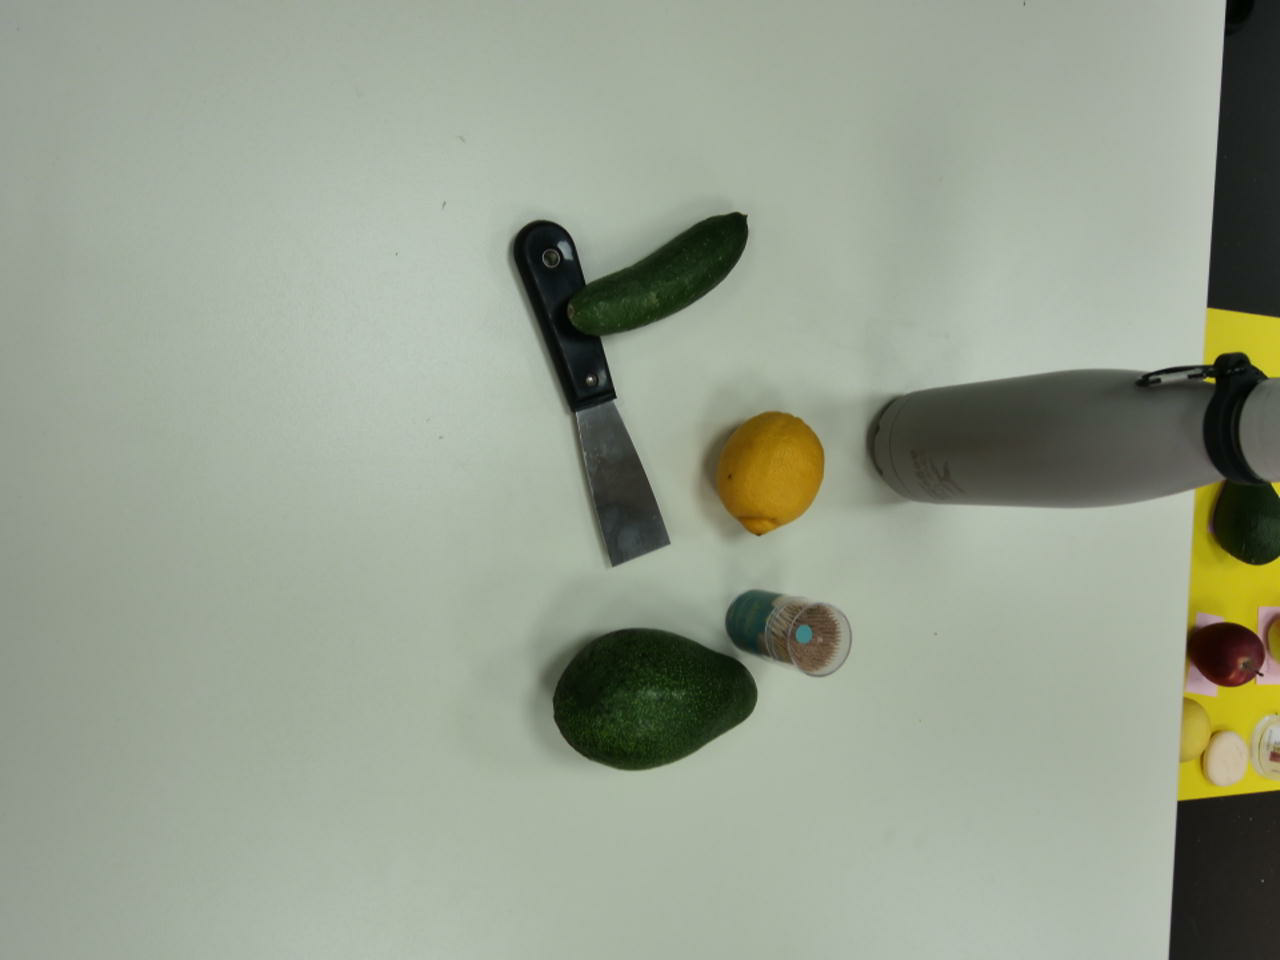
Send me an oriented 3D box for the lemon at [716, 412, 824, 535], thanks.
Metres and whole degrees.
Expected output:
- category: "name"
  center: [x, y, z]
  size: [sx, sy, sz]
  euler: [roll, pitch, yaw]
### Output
- category: "lemon"
  center: [0.074, -0.005, 0.574]
  size: [0.067, 0.059, 0.061]
  euler: [-46, 106, -16]
